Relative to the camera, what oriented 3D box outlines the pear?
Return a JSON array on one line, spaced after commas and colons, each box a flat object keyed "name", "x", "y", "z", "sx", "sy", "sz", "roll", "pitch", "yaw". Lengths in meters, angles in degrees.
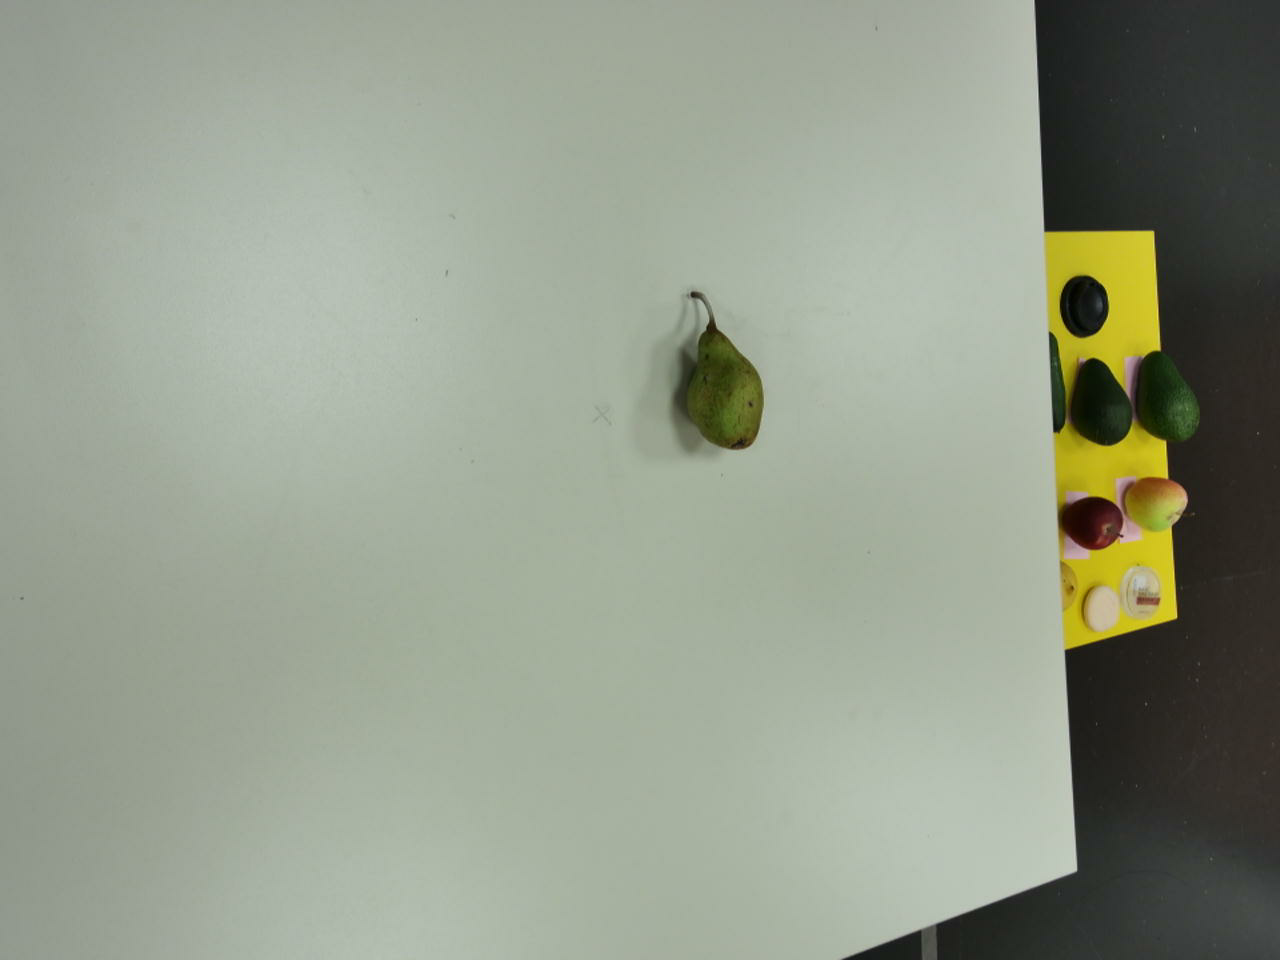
[{"name": "pear", "x": 0.063, "y": -0.078, "z": 0.707, "sx": 0.056, "sy": 0.056, "sz": 0.111, "roll": 11, "pitch": 85, "yaw": -28}]
